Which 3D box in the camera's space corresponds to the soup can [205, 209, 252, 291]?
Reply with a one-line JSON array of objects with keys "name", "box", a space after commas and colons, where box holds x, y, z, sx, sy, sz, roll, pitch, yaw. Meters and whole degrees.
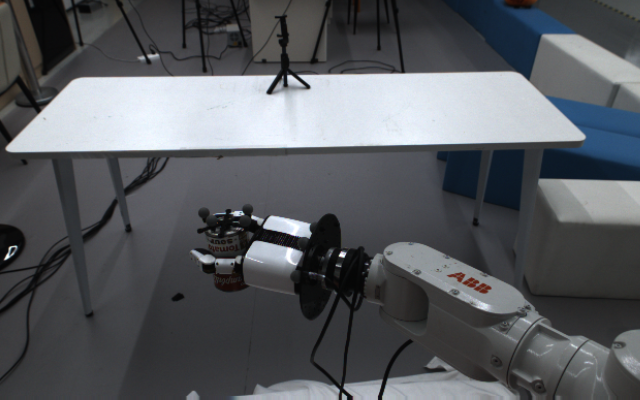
[{"name": "soup can", "box": [-0.141, 0.085, 0.766, 0.067, 0.101, 0.067, -4, 26, 2]}]
